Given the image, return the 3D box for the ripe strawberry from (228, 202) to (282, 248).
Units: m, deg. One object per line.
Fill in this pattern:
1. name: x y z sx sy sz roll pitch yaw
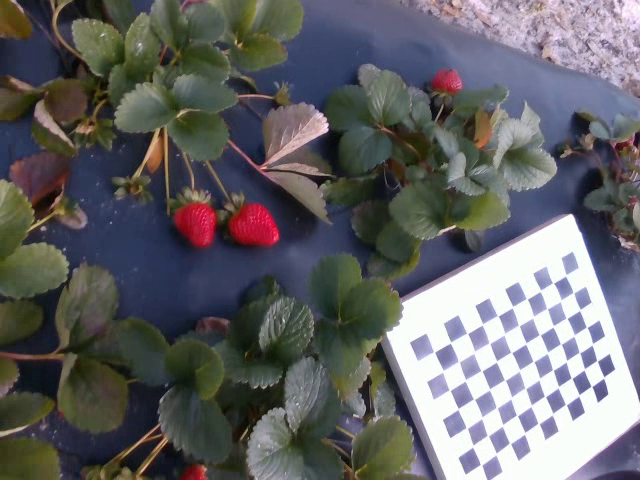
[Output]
1. ripe strawberry: -0.071 -0.014 0.670 0.064 0.057 0.051 35 -25 19

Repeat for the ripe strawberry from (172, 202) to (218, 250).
1. ripe strawberry: -0.130 -0.014 0.649 0.048 0.055 0.041 -8 -27 -25
